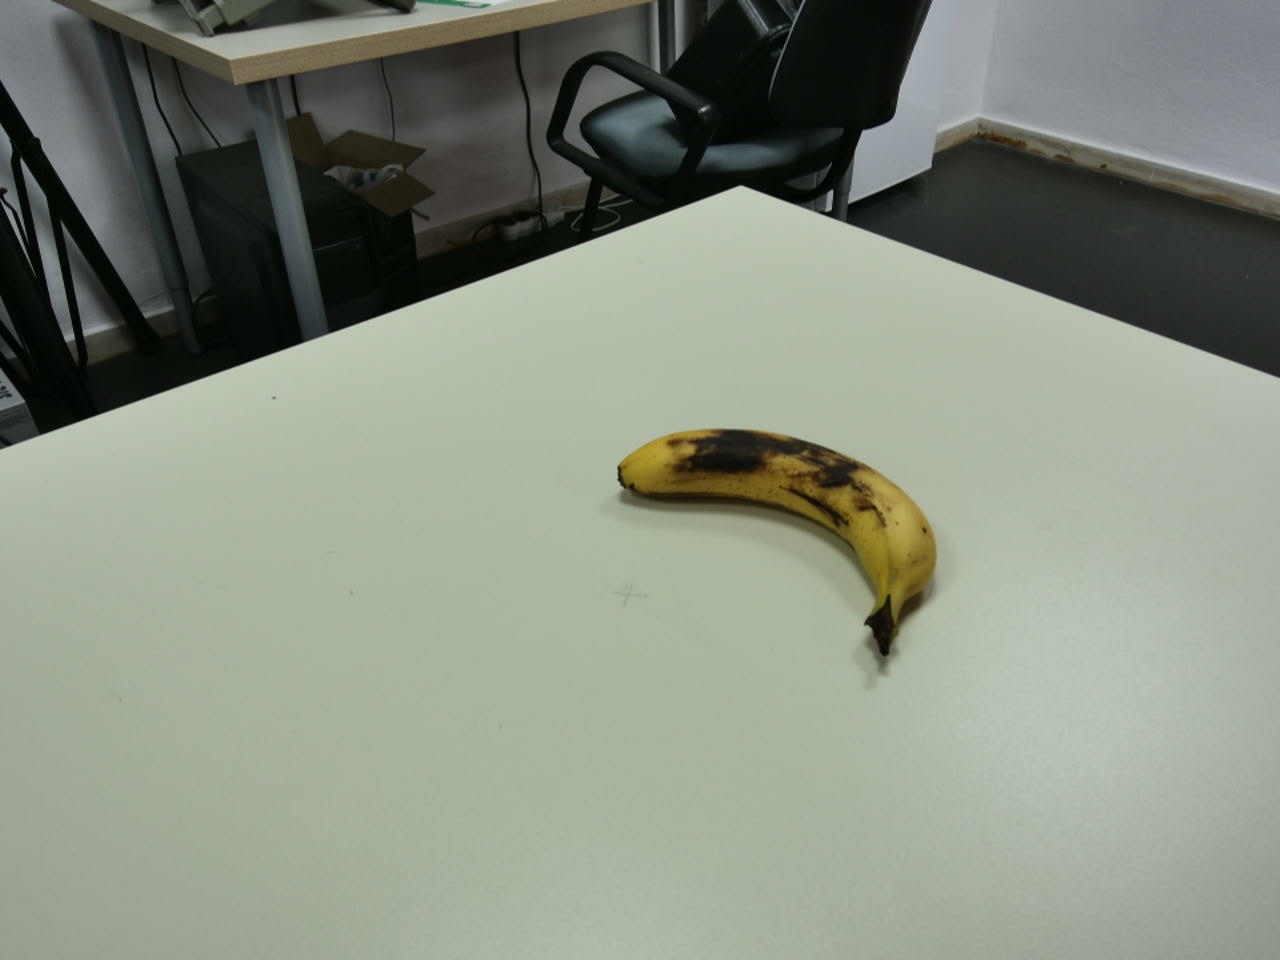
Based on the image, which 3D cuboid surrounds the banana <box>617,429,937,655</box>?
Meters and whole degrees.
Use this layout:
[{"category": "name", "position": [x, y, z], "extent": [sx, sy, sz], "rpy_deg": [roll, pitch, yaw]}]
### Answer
[{"category": "banana", "position": [0.080, 0.013, 0.526], "extent": [0.094, 0.039, 0.187], "rpy_deg": [-28, 44, -32]}]
